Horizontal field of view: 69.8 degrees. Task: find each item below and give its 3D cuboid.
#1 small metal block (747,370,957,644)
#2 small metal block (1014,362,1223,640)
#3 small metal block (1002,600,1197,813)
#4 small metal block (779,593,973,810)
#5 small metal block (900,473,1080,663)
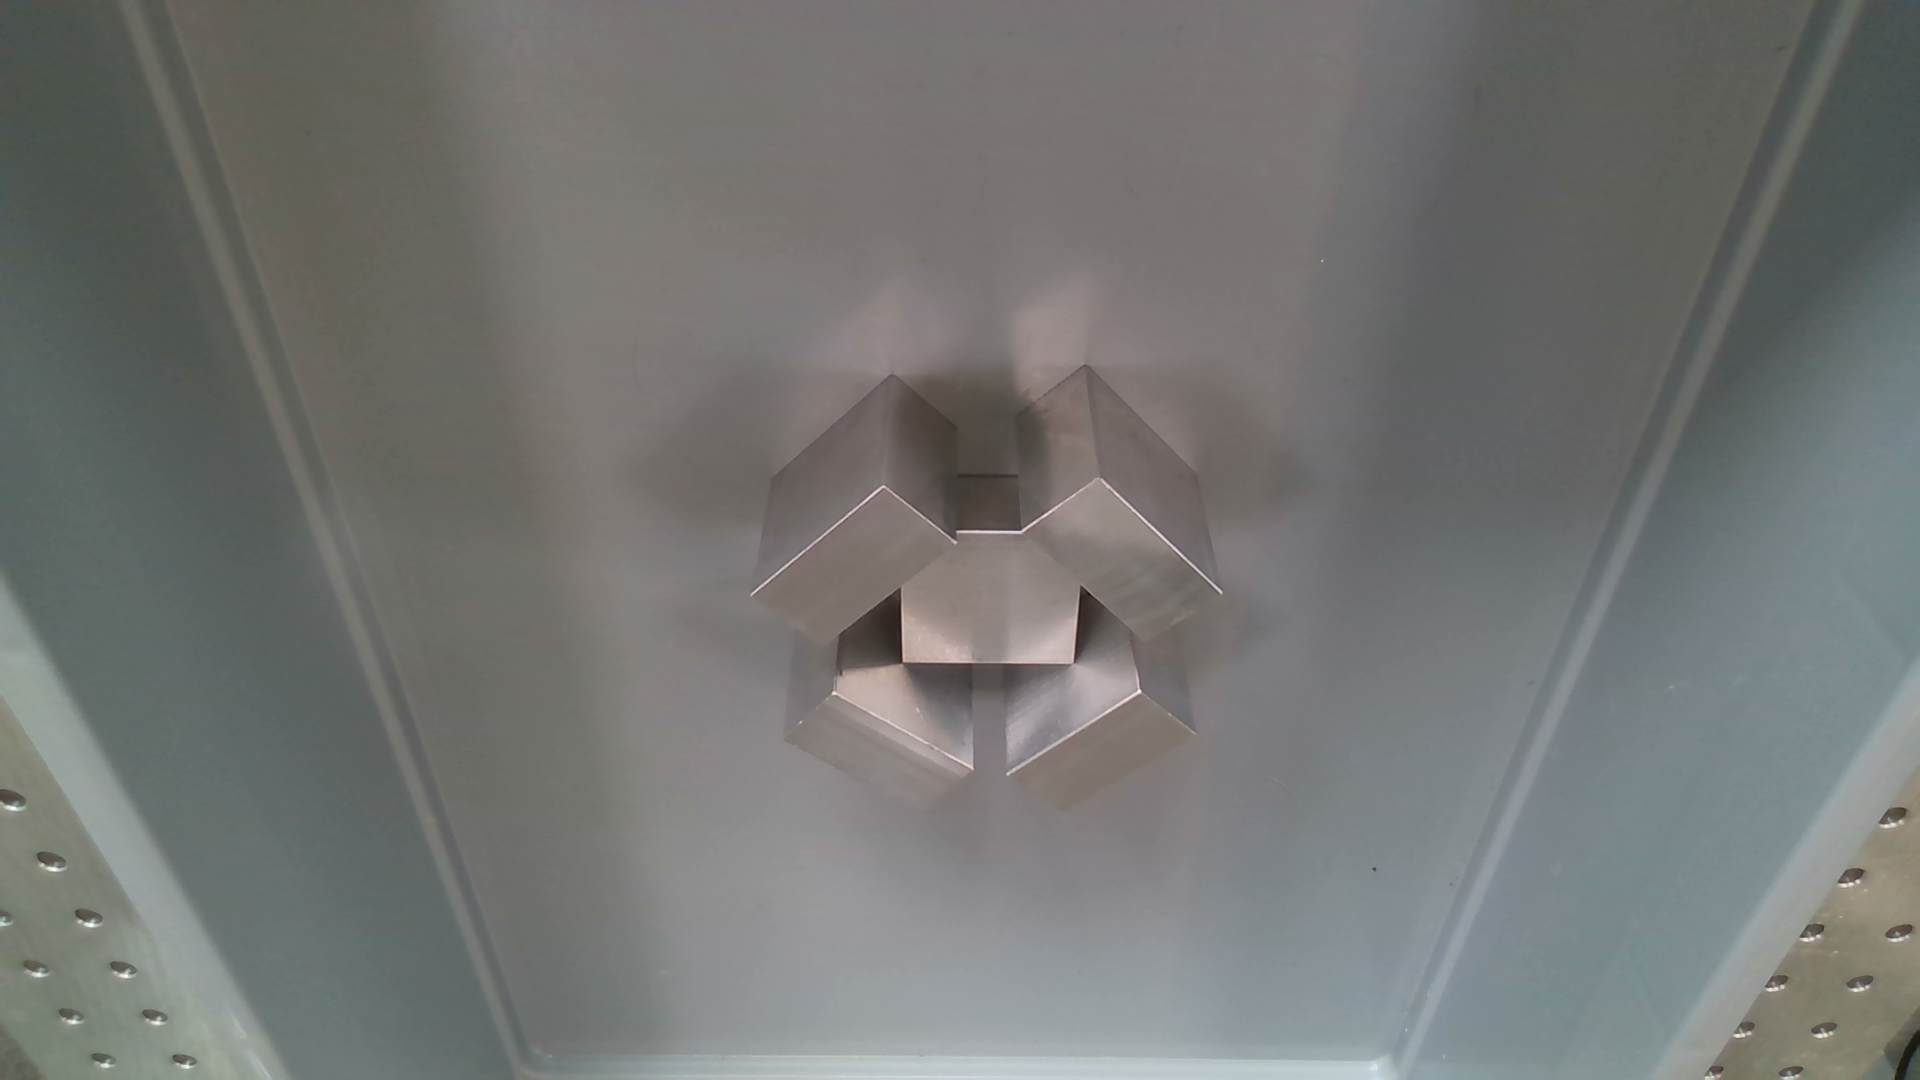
[{"bbox_3d":[-0.027,-0.009,0.363,0.050,0.050,0.025,-37,120,27],"label":"small metal block"},{"bbox_3d":[0.041,-0.010,0.362,0.025,0.050,0.050,-35,121,25],"label":"small metal block"},{"bbox_3d":[0.040,0.044,0.408,0.050,0.050,0.025,-37,122,28],"label":"small metal block"},{"bbox_3d":[-0.023,0.044,0.407,0.050,0.050,0.025,32,124,-25],"label":"small metal block"},{"bbox_3d":[0.008,0.008,0.394,0.050,0.025,0.050,1,130,0],"label":"small metal block"}]
